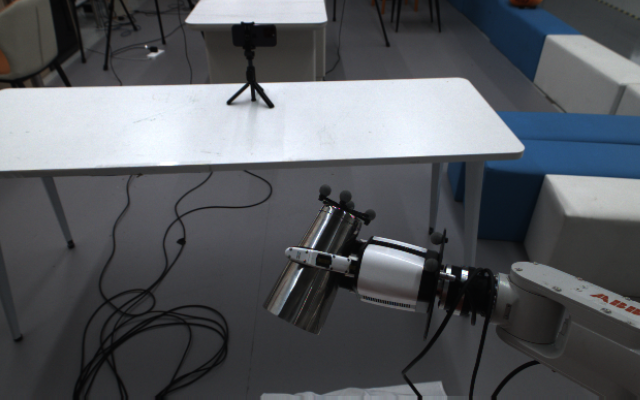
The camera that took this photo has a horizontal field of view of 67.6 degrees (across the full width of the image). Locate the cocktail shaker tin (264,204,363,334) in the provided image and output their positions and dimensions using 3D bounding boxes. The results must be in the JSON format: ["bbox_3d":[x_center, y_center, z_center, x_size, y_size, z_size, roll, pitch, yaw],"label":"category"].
[{"bbox_3d":[-0.002,0.093,0.702,0.093,0.093,0.170,21,81,25],"label":"cocktail shaker tin"}]
